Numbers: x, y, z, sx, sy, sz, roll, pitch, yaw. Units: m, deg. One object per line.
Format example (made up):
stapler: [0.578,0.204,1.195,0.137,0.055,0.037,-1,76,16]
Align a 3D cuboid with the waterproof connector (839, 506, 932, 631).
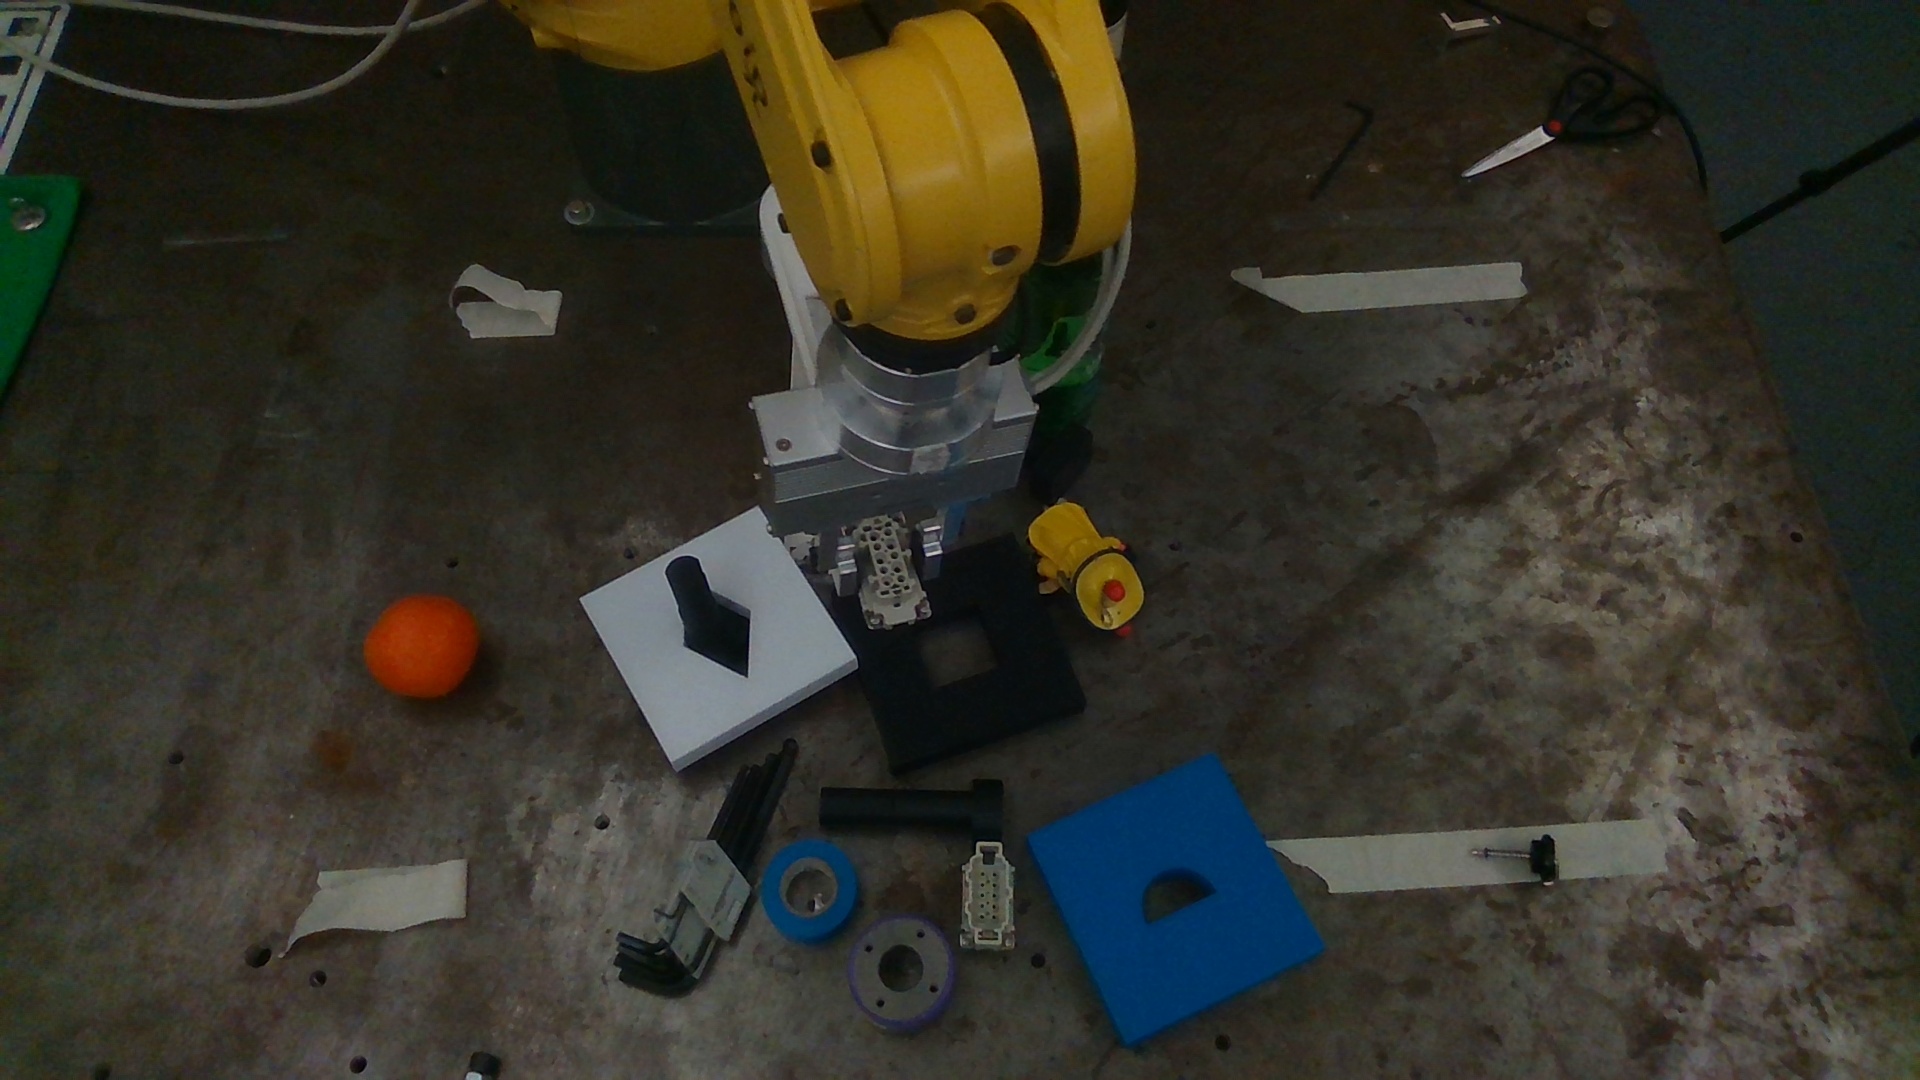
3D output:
waterproof connector: [-0.041,0.014,0.749,0.037,0.038,0.069,-16,64,-4]
